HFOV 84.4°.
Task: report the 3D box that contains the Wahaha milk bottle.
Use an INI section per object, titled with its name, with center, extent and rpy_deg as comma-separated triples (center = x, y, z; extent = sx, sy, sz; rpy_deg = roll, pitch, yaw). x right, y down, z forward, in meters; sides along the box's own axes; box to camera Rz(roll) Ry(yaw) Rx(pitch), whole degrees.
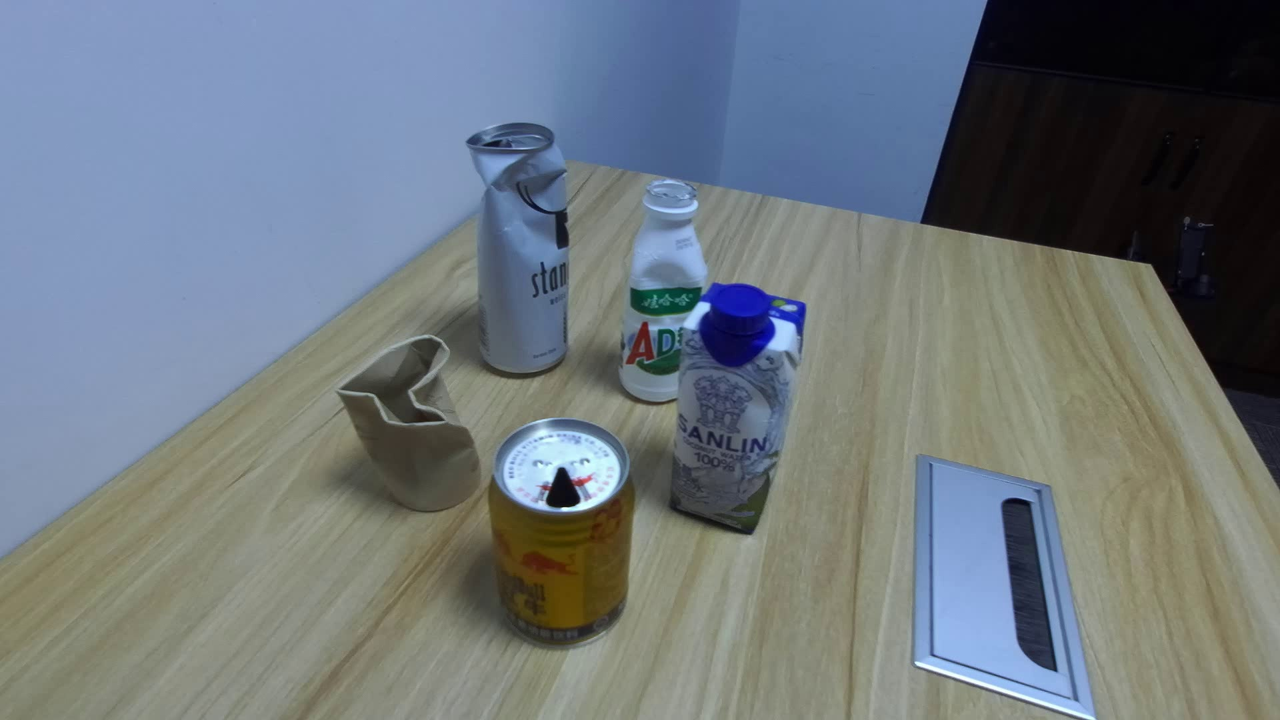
[Wahaha milk bottle]
center = 0.017, -0.043, 0.465
extent = 0.055, 0.149, 0.055
rpy_deg = 2, 33, -1

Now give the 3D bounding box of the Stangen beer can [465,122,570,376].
[Stangen beer can]
center = -0.083, -0.072, 0.485
extent = 0.066, 0.166, 0.065
rpy_deg = -23, 43, -31

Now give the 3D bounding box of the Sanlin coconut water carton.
[Sanlin coconut water carton]
center = 0.051, 0.022, 0.382
extent = 0.060, 0.144, 0.061
rpy_deg = 14, 35, 16

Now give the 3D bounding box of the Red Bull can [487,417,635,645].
[Red Bull can]
center = -0.036, 0.083, 0.338
extent = 0.067, 0.093, 0.067
rpy_deg = 3, 34, -2

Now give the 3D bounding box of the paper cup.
[paper cup]
center = -0.118, 0.040, 0.398
extent = 0.058, 0.083, 0.066
rpy_deg = 20, 41, 17
